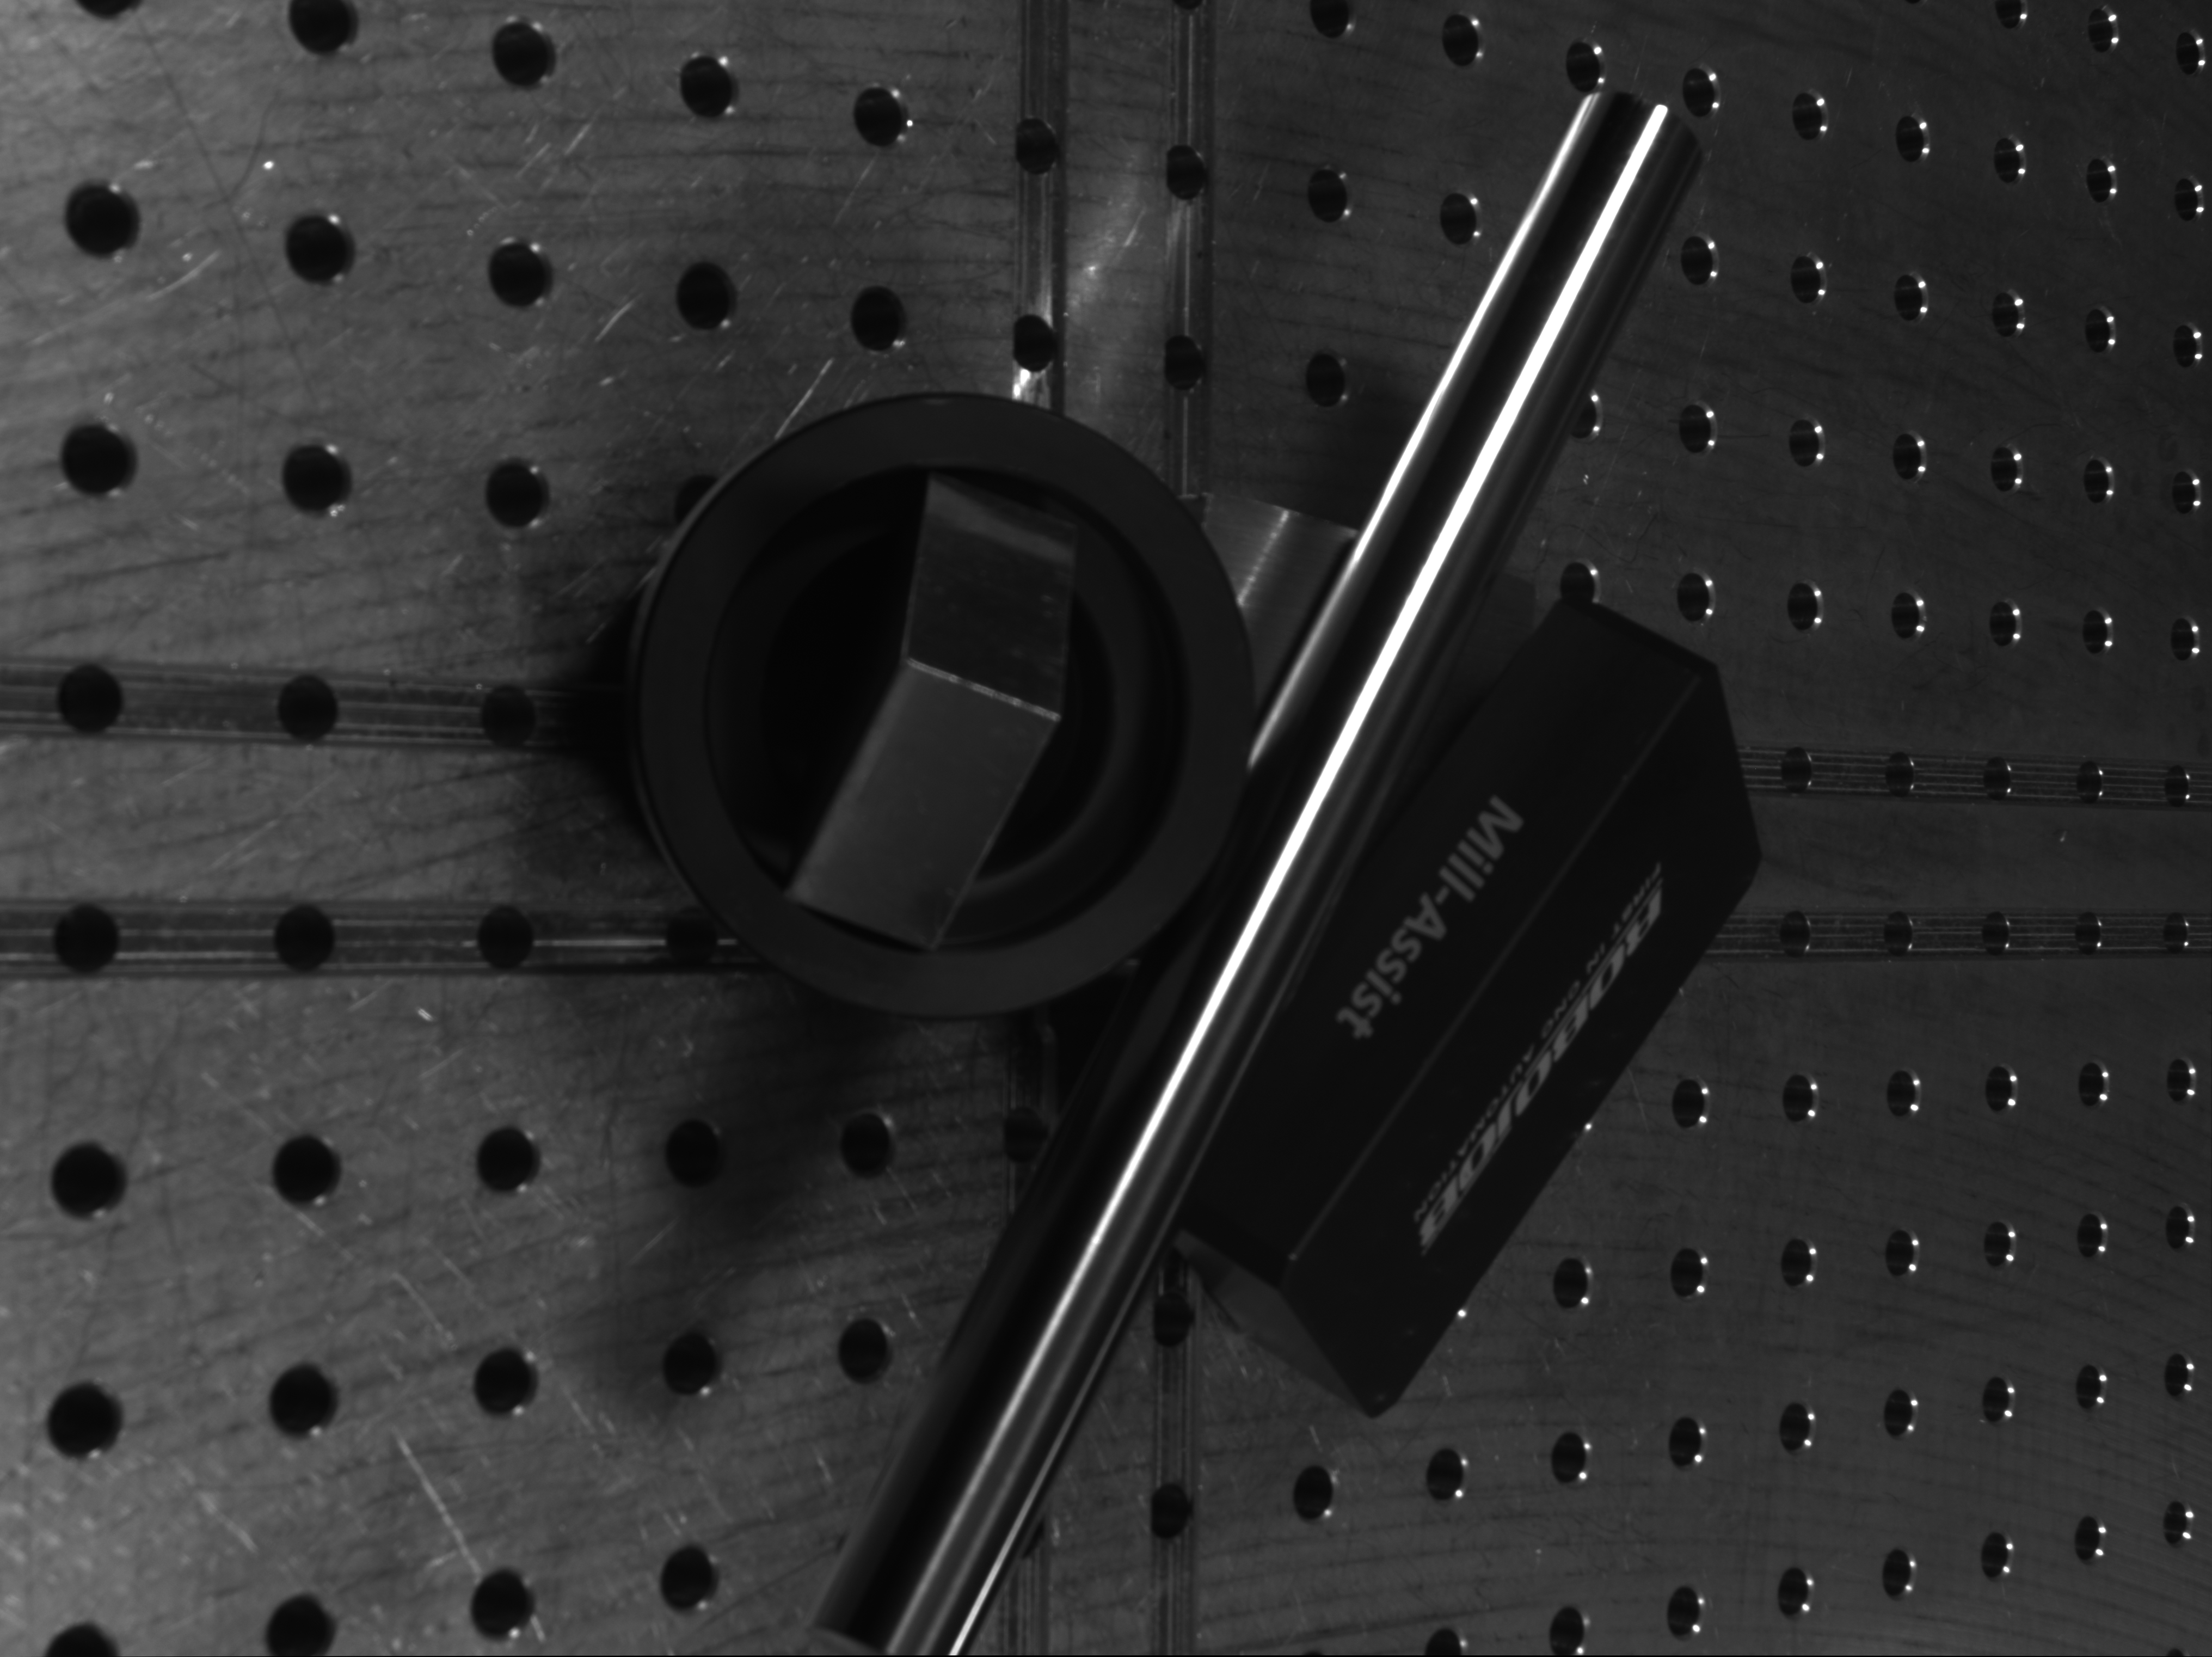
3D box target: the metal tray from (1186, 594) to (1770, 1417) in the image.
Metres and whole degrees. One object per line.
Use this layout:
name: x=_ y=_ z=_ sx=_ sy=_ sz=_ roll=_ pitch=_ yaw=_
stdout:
metal tray: x=0.066 y=0.033 z=0.648 sx=0.130 sy=0.030 sz=0.090 roll=-54 pitch=154 yaw=-11

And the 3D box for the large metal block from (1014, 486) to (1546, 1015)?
large metal block: x=0.028 y=-0.011 z=0.647 sx=0.080 sy=0.050 sz=0.080 roll=12 pitch=82 yaw=-39

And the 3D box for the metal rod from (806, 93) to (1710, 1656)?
metal rod: x=0.031 y=0.001 z=0.601 sx=0.025 sy=0.025 sz=0.300 roll=42 pitch=65 yaw=-32

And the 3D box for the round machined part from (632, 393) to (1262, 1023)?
round machined part: x=-0.028 y=-0.019 z=0.589 sx=0.098 sy=0.042 sz=0.098 roll=-1 pitch=93 yaw=-15

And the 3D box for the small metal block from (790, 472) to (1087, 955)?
small metal block: x=-0.026 y=-0.018 z=0.567 sx=0.025 sy=0.050 sz=0.050 roll=20 pitch=37 yaw=-12
